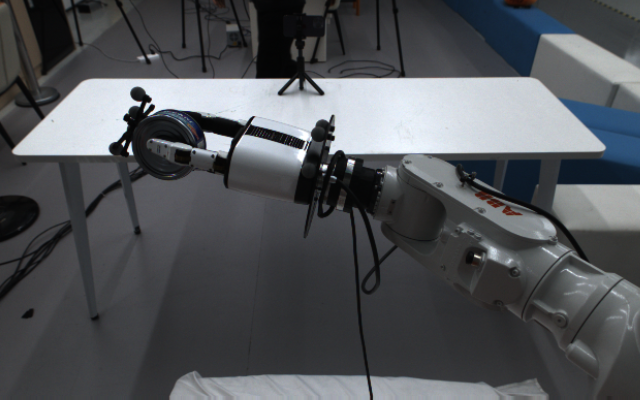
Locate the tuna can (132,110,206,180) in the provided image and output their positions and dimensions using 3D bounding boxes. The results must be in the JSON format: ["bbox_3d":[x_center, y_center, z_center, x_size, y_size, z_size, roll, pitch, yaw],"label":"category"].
[{"bbox_3d":[-0.189,-0.069,0.610,0.085,0.085,0.034,4,22,2],"label":"tuna can"}]
